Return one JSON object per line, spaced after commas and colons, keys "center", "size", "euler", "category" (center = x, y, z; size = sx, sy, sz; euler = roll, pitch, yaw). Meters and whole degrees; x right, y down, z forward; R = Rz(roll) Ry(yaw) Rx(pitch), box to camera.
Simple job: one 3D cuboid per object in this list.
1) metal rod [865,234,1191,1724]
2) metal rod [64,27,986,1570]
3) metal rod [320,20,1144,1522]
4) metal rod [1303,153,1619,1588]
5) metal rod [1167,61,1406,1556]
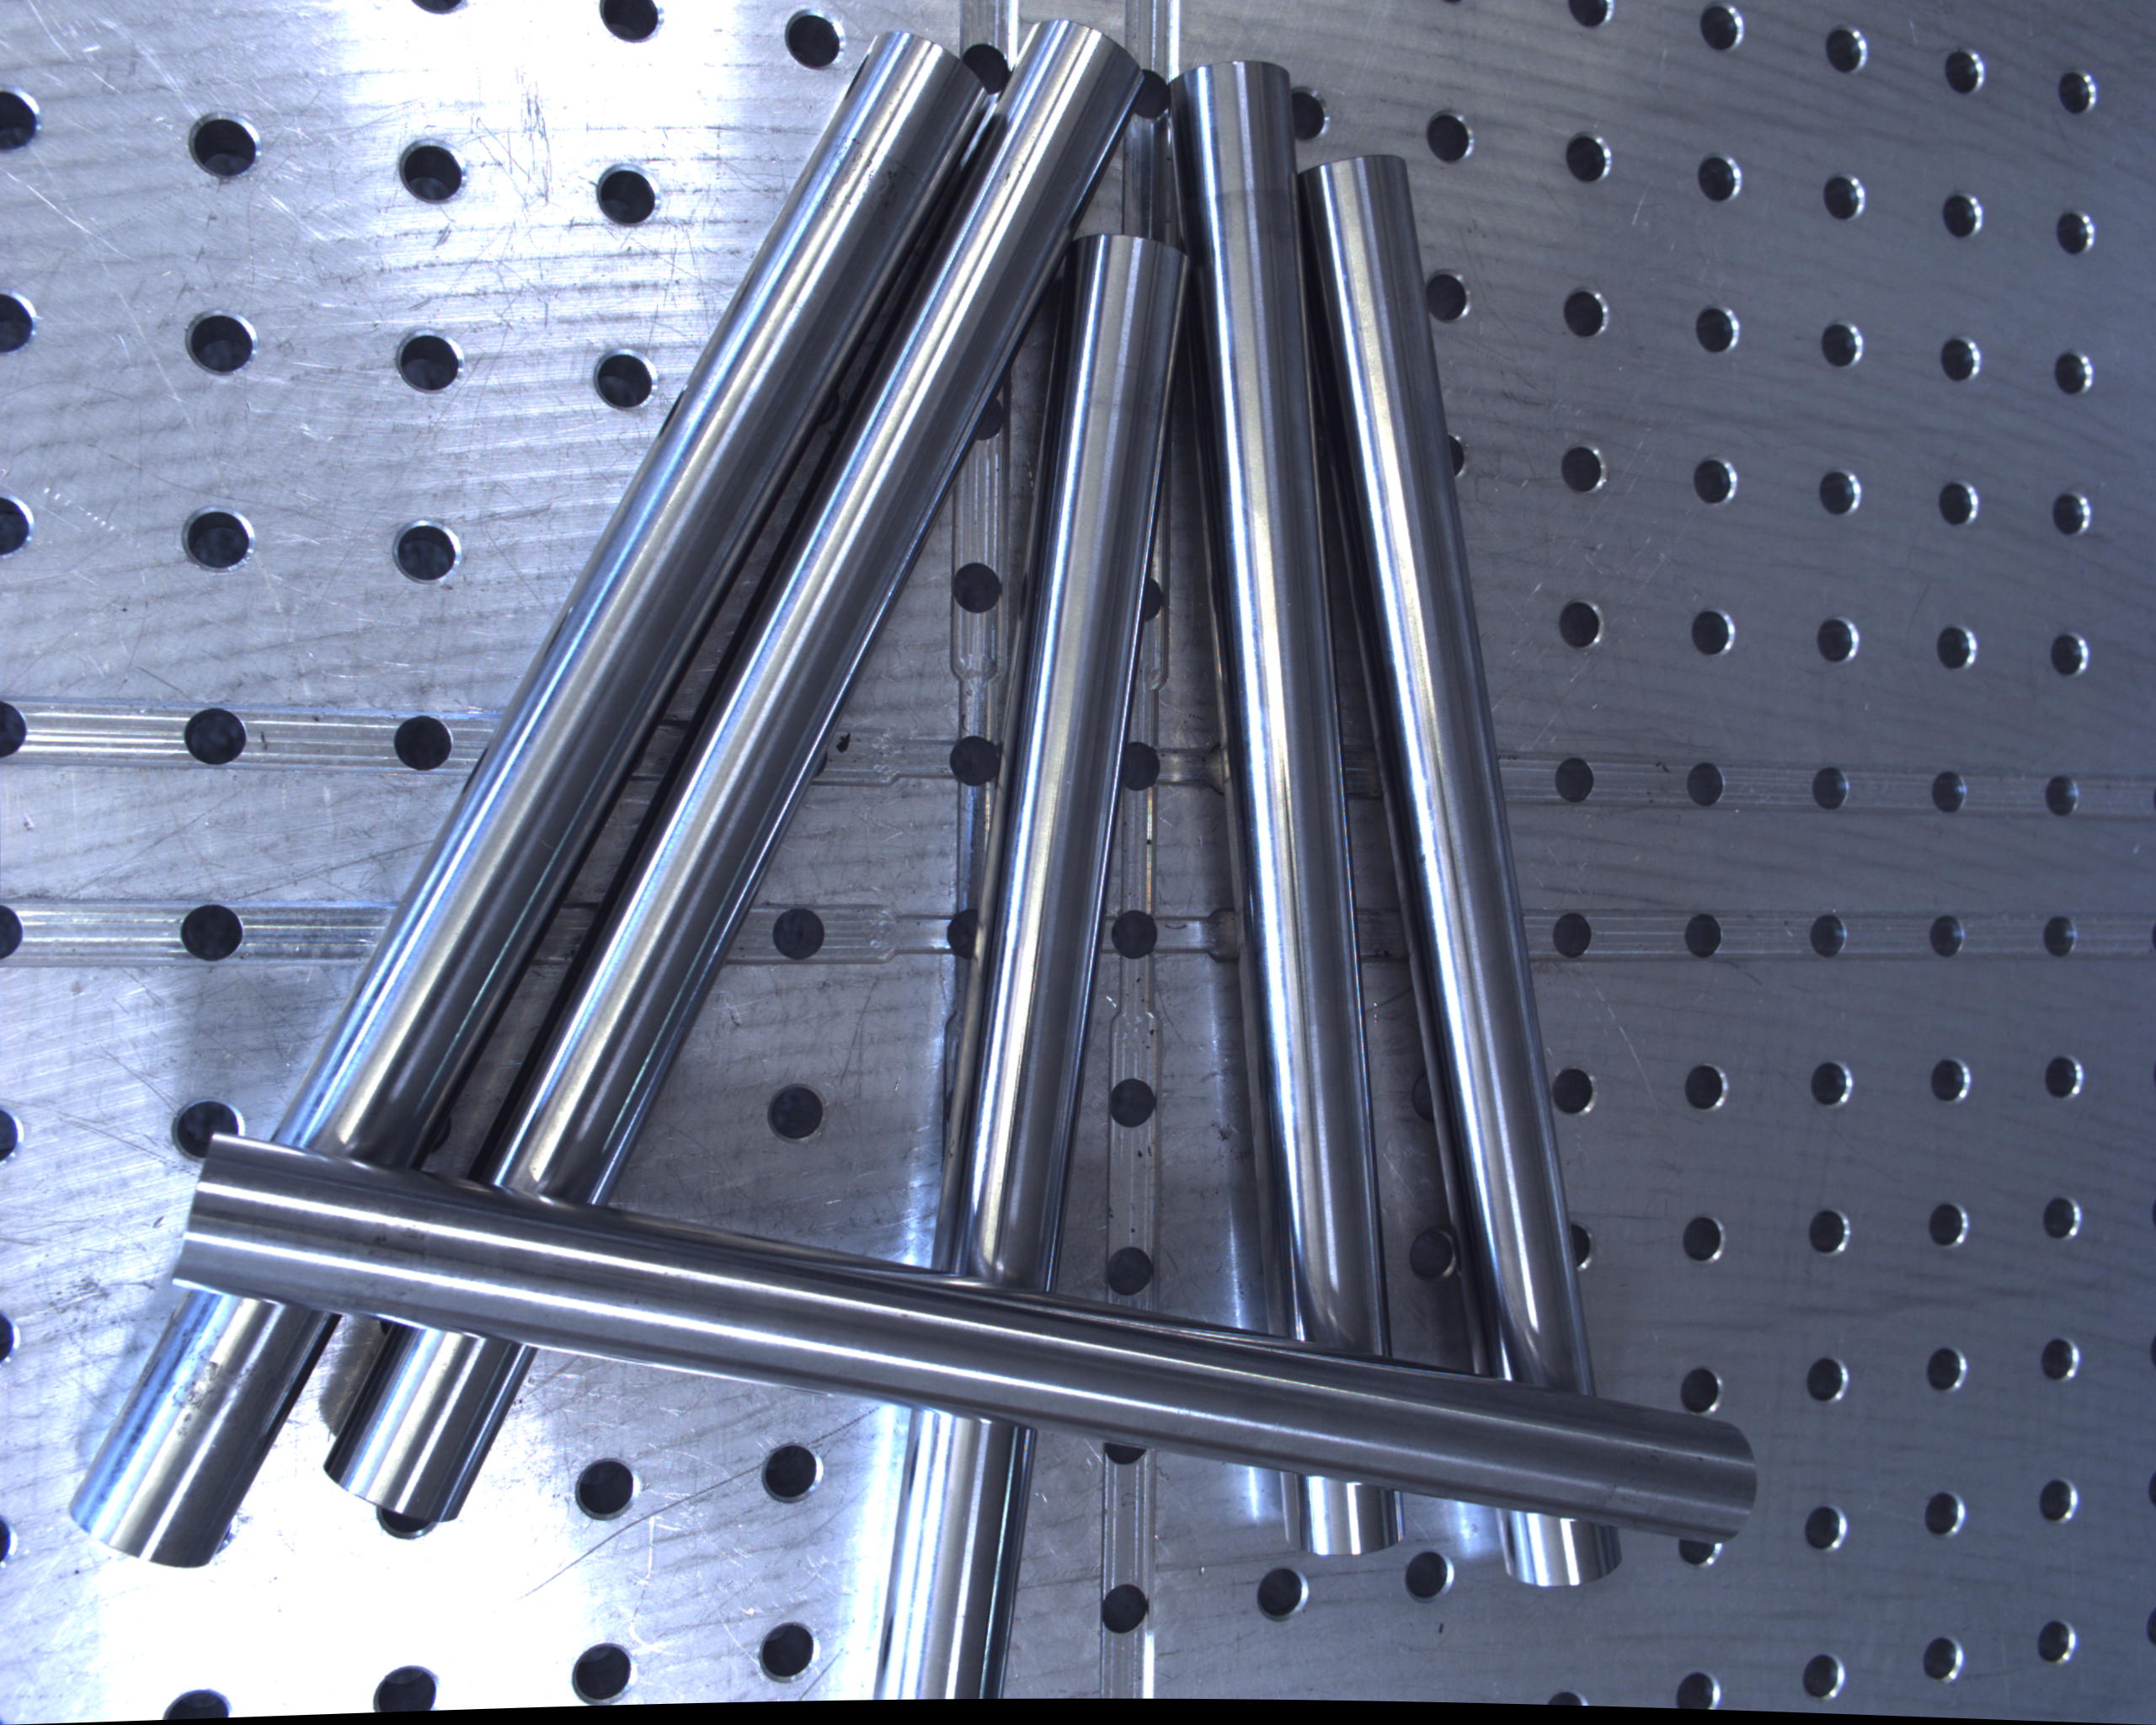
{"center": [-0.010, 0.027, 0.409], "size": [0.025, 0.025, 0.299], "euler": [9, 87, -20], "category": "metal rod"}
{"center": [-0.094, -0.019, 0.377], "size": [0.025, 0.025, 0.299], "euler": [29, 80, -18], "category": "metal rod"}
{"center": [-0.060, -0.024, 0.391], "size": [0.025, 0.025, 0.299], "euler": [27, 81, -18], "category": "metal rod"}
{"center": [0.080, 0.004, 0.441], "size": [0.025, 0.025, 0.298], "euler": [-11, 94, -20], "category": "metal rod"}
{"center": [0.043, -0.009, 0.428], "size": [0.025, 0.025, 0.298], "euler": [-5, 92, -20], "category": "metal rod"}
